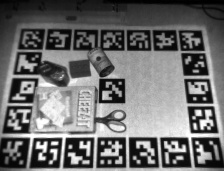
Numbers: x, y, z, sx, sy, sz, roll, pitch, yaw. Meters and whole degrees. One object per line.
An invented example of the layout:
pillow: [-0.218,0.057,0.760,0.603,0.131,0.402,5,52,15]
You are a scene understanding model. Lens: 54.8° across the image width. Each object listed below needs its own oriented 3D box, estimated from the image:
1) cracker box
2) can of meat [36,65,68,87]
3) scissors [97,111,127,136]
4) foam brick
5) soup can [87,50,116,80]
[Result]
cracker box: [-0.166,0.104,0.757,0.213,0.072,0.163,-7,71,1]
can of meat: [-0.220,-0.026,0.805,0.101,0.084,0.058,12,73,4]
scissors: [-0.050,0.144,0.778,0.203,0.016,0.087,-6,73,-2]
foam brick: [-0.125,-0.053,0.835,0.078,0.051,0.052,-11,73,-4]
soup can: [-0.044,-0.081,0.844,0.068,0.068,0.101,-37,71,-11]
